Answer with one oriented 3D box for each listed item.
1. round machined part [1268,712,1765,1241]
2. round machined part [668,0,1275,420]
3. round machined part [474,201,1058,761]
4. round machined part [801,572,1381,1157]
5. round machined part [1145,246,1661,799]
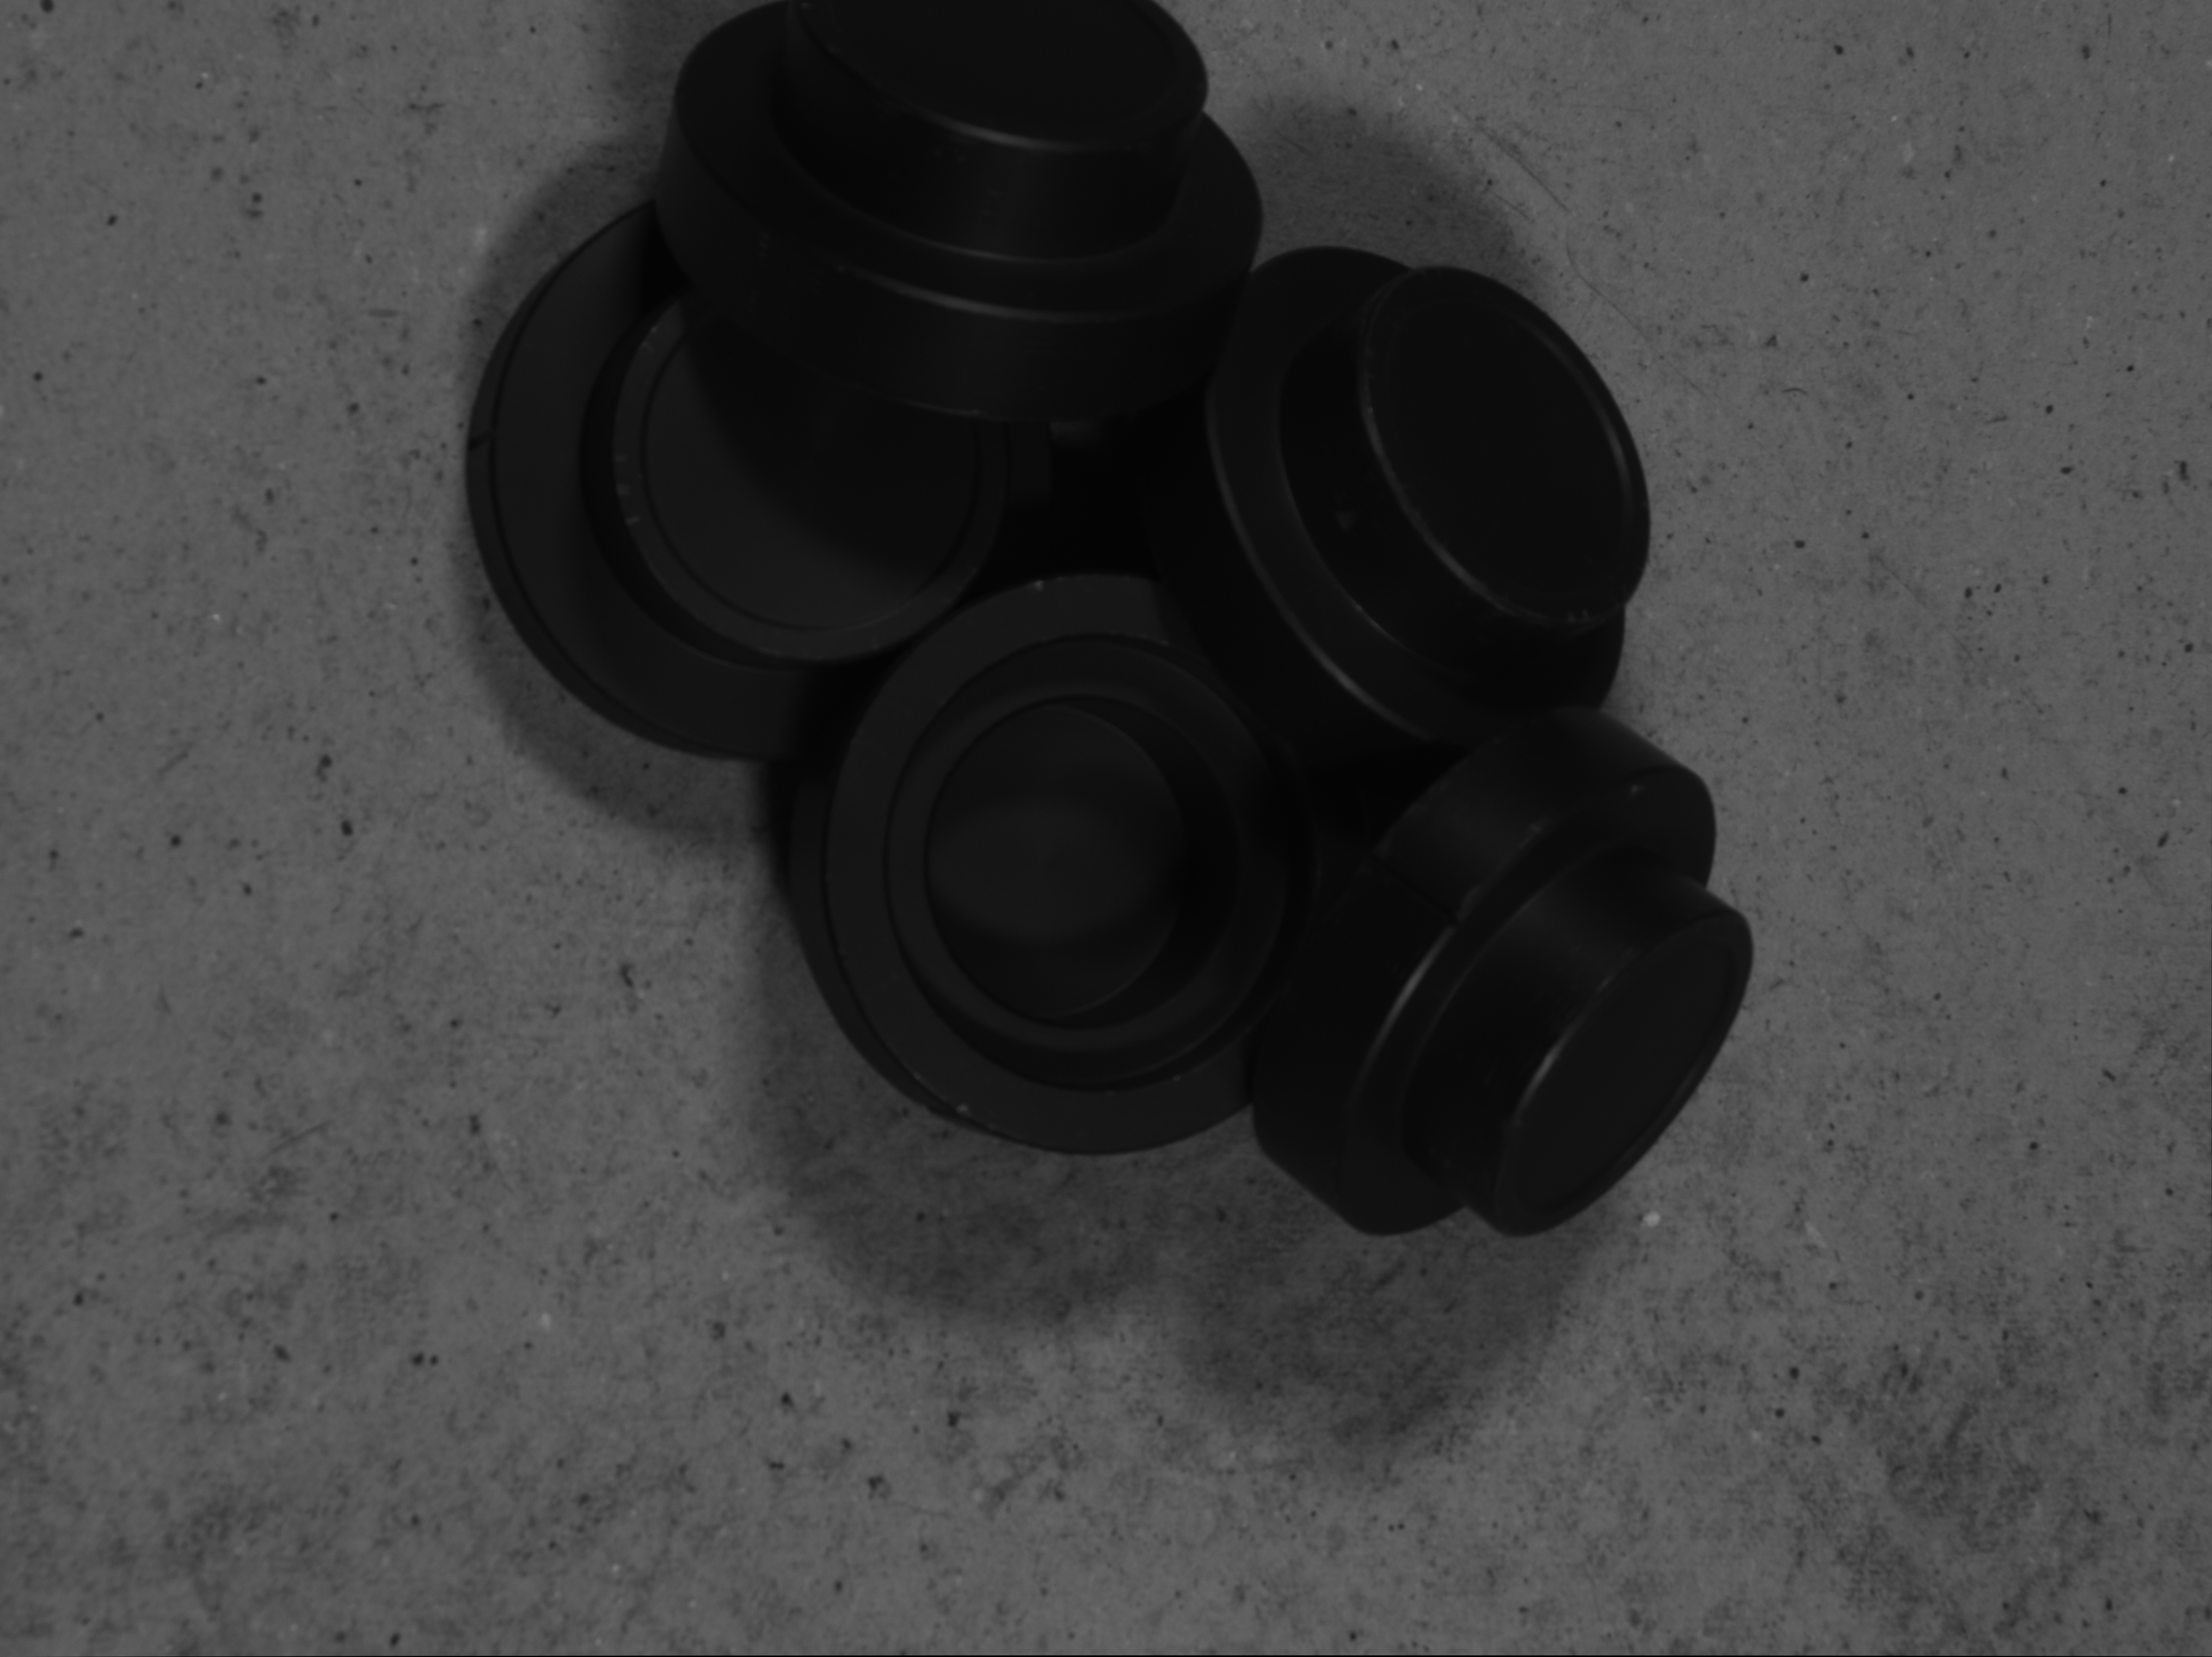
[{"bbox_3d":[0.076,0.032,0.633,0.042,0.098,0.098,38,74,26],"label":"round machined part"},{"bbox_3d":[-0.019,-0.112,0.597,0.098,0.098,0.042,1,131,-20],"label":"round machined part"},{"bbox_3d":[-0.054,-0.060,0.616,0.098,0.042,0.098,0,90,-20],"label":"round machined part"},{"bbox_3d":[-0.005,0.006,0.632,0.098,0.042,0.098,0,90,-20],"label":"round machined part"},{"bbox_3d":[0.057,-0.058,0.632,0.098,0.042,0.098,21,55,-33],"label":"round machined part"}]
